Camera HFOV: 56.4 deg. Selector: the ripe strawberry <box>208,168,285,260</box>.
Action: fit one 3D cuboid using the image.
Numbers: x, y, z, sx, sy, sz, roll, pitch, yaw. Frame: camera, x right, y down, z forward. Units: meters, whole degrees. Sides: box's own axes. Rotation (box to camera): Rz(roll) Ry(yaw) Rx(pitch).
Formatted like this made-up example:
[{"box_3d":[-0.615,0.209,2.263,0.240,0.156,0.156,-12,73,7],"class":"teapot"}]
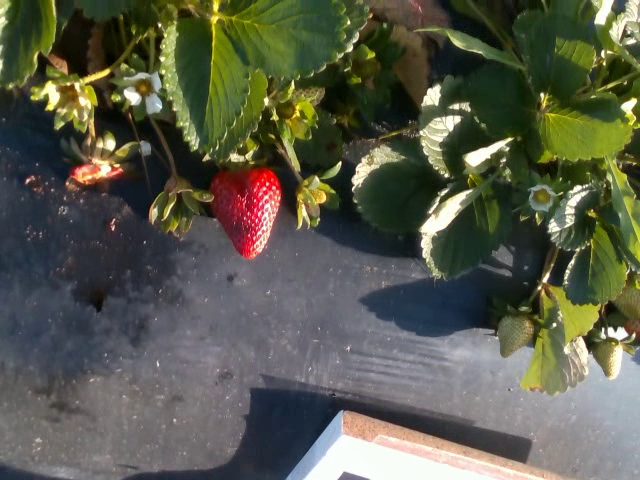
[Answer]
[{"box_3d":[-0.044,-0.013,0.347,0.052,0.051,0.041,-5,-20,5],"class":"ripe strawberry"}]
